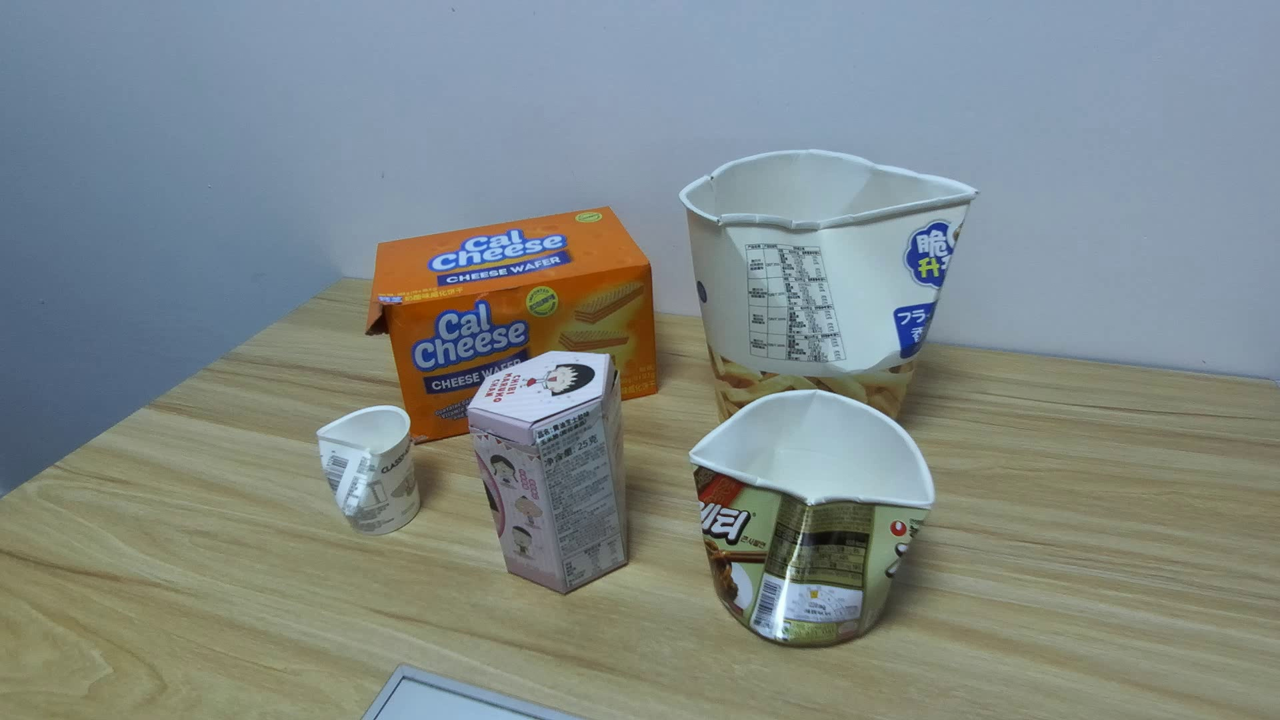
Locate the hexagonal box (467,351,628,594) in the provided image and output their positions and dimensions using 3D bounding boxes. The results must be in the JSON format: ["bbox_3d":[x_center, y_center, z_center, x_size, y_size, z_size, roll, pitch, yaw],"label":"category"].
[{"bbox_3d":[-0.052,0.069,0.450,0.085,0.135,0.092,-3,32,3],"label":"hexagonal box"}]

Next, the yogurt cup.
[{"bbox_3d":[-0.191,0.080,0.510,0.067,0.070,0.067,-4,30,3],"label":"yogurt cup"}]

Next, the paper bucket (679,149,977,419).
[{"bbox_3d":[0.124,-0.036,0.539,0.163,0.202,0.168,-25,35,-28],"label":"paper bucket"}]

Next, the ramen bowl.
[{"bbox_3d":[0.105,0.092,0.428,0.137,0.098,0.137,-1,33,1],"label":"ramen bowl"}]

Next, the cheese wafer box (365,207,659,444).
[{"bbox_3d":[-0.110,-0.041,0.631,0.227,0.137,0.149,-11,33,-12],"label":"cheese wafer box"}]
